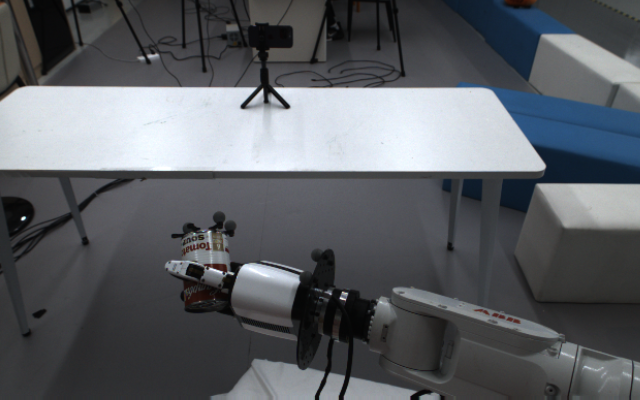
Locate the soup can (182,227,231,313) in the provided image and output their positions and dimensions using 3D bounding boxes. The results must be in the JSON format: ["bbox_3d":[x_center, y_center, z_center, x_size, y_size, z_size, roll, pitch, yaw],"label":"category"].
[{"bbox_3d":[-0.156,0.102,0.676,0.067,0.067,0.101,-6,67,-12],"label":"soup can"}]
